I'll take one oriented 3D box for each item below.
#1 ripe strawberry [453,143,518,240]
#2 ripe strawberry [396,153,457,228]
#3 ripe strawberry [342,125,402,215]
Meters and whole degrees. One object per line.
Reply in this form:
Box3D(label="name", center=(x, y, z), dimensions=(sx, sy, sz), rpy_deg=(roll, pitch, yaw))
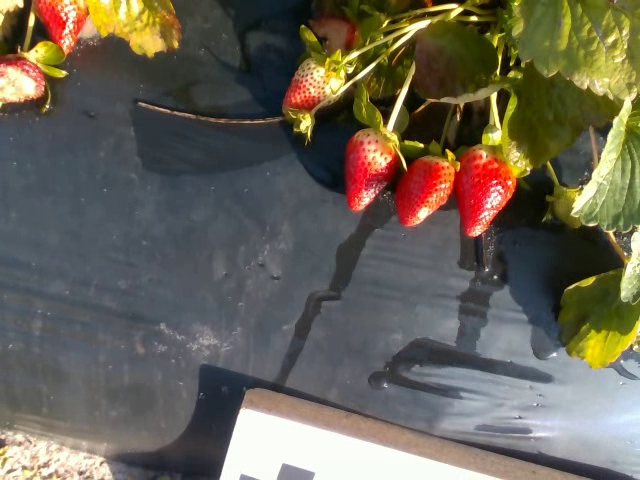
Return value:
Box3D(label="ripe strawberry", center=(0.078, -0.017, 0.301), dimensions=(0.035, 0.041, 0.034), rpy_deg=(13, -19, 4))
Box3D(label="ripe strawberry", center=(0.050, -0.024, 0.299), dimensions=(0.030, 0.039, 0.037), rpy_deg=(26, -33, -4))
Box3D(label="ripe strawberry", center=(0.024, -0.034, 0.306), dimensions=(0.031, 0.046, 0.023), rpy_deg=(17, 17, 2))
